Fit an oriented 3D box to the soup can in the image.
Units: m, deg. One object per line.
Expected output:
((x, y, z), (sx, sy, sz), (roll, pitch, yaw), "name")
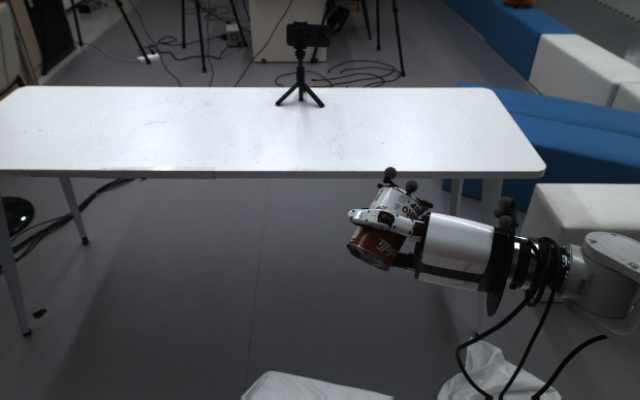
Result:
((0.092, 0.038, 0.676), (0.067, 0.067, 0.101), (24, 72, 28), "soup can")
